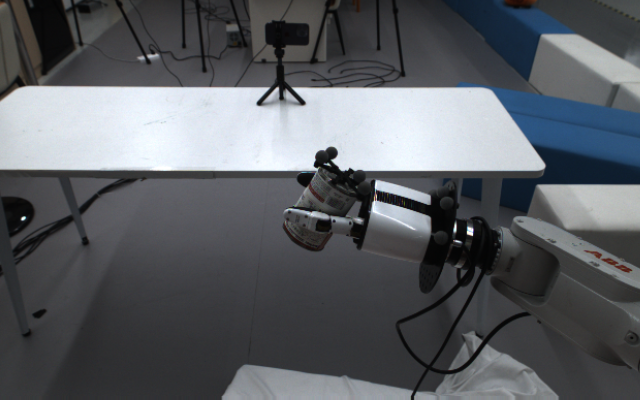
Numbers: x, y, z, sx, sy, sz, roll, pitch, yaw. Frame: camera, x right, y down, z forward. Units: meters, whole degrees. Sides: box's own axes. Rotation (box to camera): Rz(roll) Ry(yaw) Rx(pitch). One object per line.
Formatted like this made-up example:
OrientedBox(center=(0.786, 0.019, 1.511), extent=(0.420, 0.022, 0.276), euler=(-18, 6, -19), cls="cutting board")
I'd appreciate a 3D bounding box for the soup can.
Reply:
OrientedBox(center=(0.003, 0.012, 0.667), extent=(0.067, 0.101, 0.067), euler=(28, 22, -12), cls="soup can")
